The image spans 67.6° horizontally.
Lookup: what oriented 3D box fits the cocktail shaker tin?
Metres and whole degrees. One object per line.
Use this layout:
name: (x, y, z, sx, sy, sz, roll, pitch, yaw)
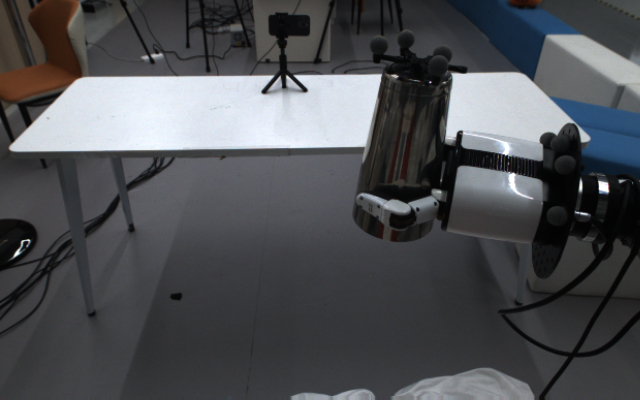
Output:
cocktail shaker tin: (0.089, -0.051, 0.507, 0.093, 0.170, 0.093, 3, 34, -2)
